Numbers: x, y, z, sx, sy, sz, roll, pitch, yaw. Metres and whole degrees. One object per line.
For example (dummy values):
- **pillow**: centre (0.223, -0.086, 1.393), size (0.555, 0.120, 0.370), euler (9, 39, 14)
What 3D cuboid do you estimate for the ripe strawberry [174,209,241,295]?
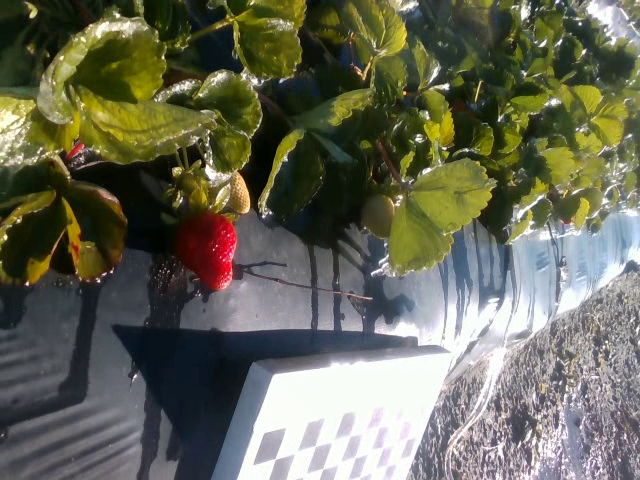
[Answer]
- **ripe strawberry**: centre (-0.048, 0.009, 0.272), size (0.039, 0.039, 0.040), euler (1, -45, -41)
